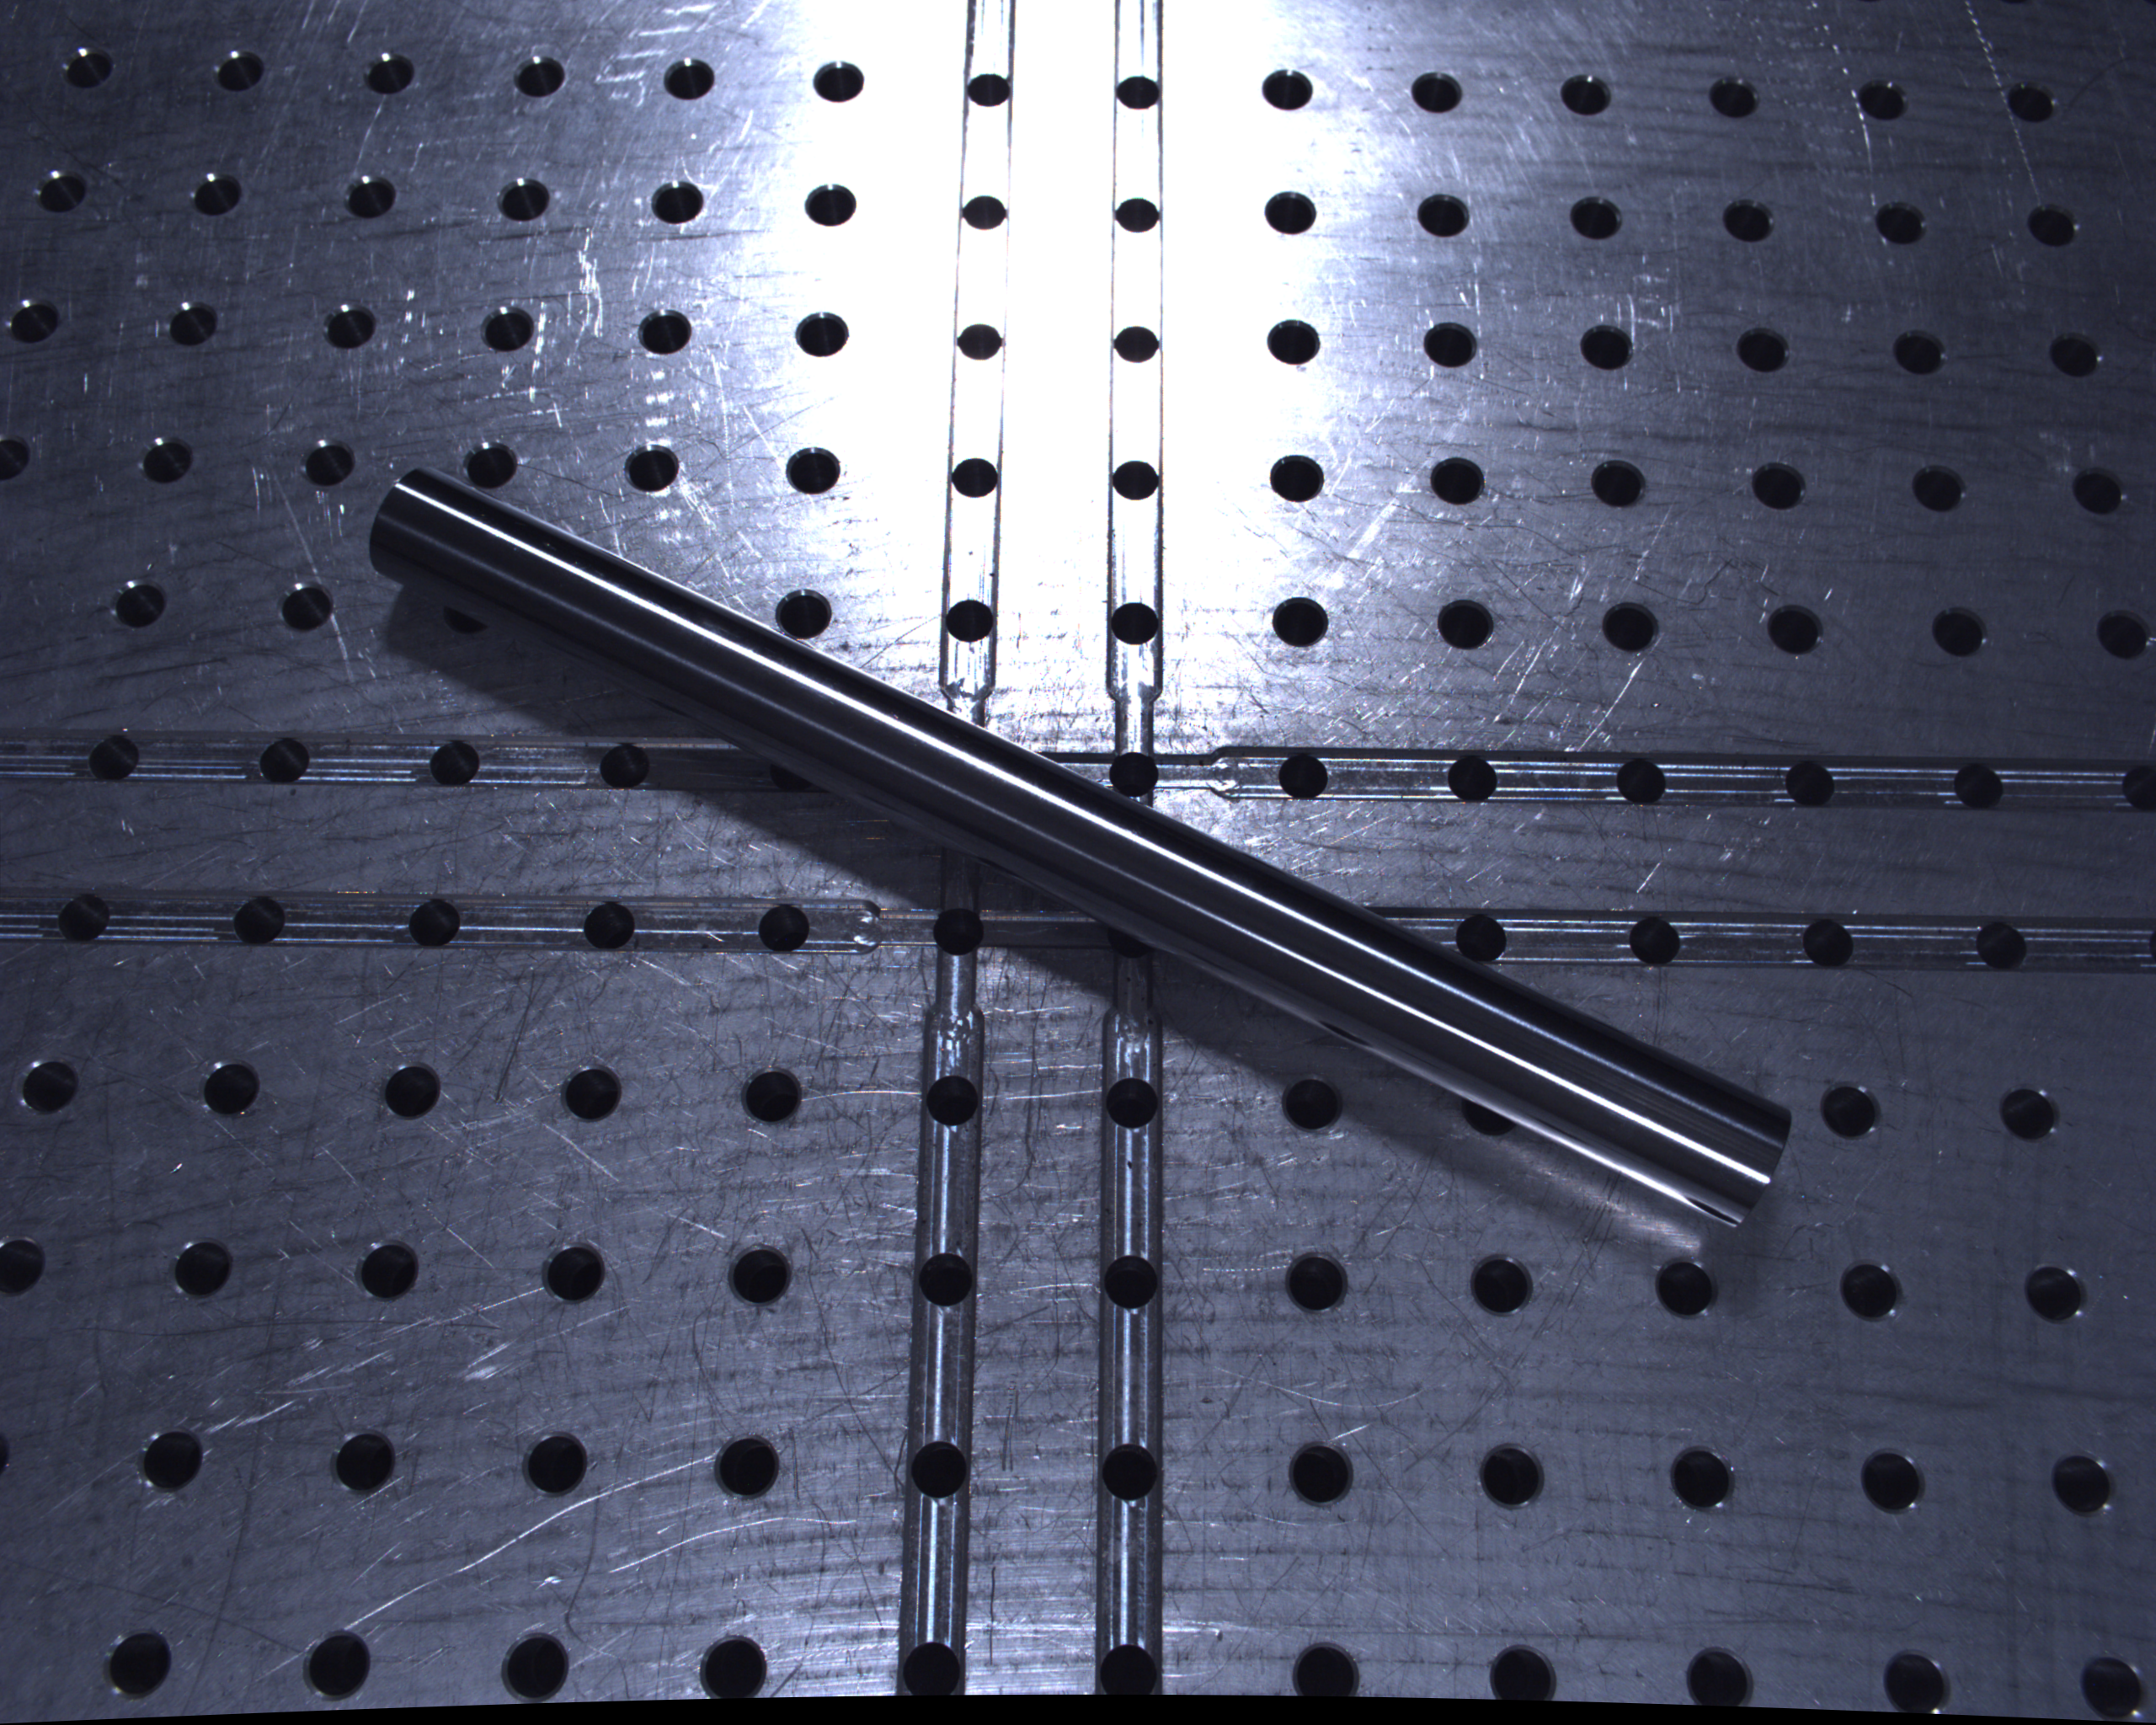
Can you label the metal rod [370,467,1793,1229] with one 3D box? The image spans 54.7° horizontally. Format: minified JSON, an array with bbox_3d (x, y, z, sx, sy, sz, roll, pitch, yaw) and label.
[{"bbox_3d":[-0.006,-0.007,0.414,0.301,0.025,0.025,26,72,8],"label":"metal rod"}]
